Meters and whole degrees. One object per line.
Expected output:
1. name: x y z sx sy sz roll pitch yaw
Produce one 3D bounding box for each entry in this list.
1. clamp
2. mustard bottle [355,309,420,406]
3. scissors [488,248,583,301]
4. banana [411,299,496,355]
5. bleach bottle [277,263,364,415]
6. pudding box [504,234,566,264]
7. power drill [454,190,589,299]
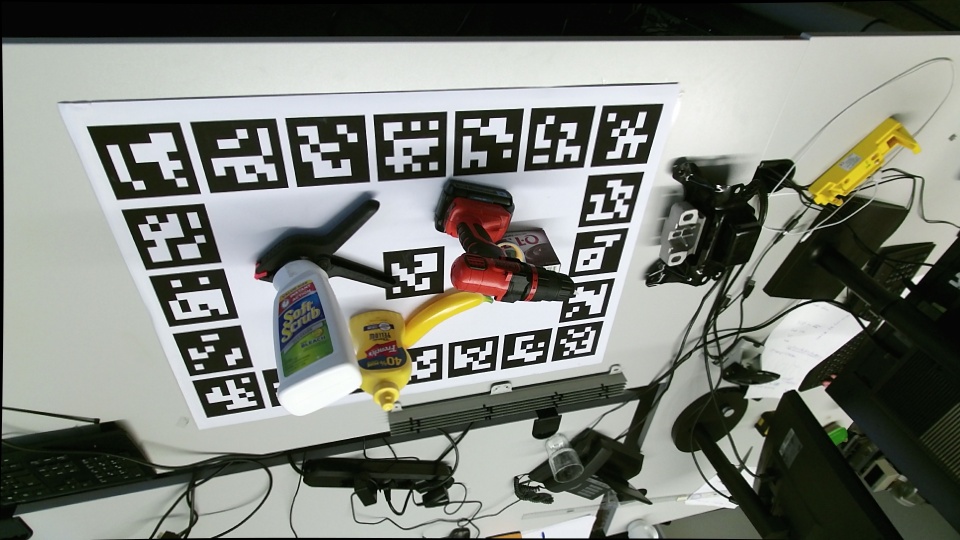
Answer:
1. clamp: -0.228 -0.006 0.813 0.203 0.036 0.165 -11 126 -8
2. mustard bottle: -0.150 0.145 0.879 0.096 0.190 0.058 6 124 -21
3. scissors: 0.105 0.024 0.847 0.204 0.016 0.087 18 115 -23
4. banana: -0.063 0.107 0.963 0.197 0.038 0.074 -38 145 11
5. bleach bottle: -0.236 0.071 0.734 0.103 0.250 0.068 -26 134 -8
6. pudding box: 0.080 -0.018 0.890 0.114 0.089 0.038 -3 133 -16
7. power drill: 0.048 -0.035 0.767 0.185 0.186 0.057 3 131 -24
